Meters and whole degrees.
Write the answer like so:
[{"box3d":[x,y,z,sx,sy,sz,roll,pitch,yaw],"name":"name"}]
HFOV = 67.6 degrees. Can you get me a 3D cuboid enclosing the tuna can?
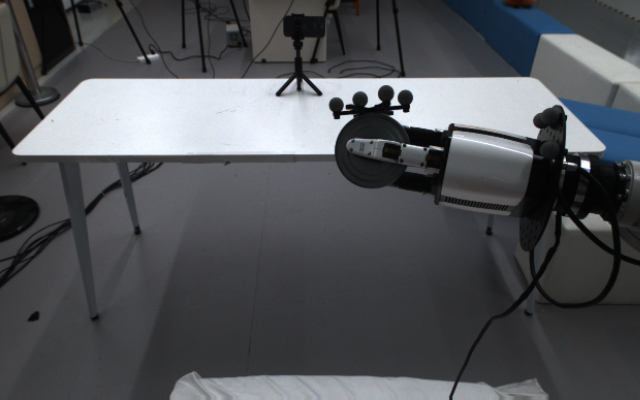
[{"box3d":[0.063,-0.057,0.562,0.085,0.085,0.034,10,3,11],"name":"tuna can"}]
